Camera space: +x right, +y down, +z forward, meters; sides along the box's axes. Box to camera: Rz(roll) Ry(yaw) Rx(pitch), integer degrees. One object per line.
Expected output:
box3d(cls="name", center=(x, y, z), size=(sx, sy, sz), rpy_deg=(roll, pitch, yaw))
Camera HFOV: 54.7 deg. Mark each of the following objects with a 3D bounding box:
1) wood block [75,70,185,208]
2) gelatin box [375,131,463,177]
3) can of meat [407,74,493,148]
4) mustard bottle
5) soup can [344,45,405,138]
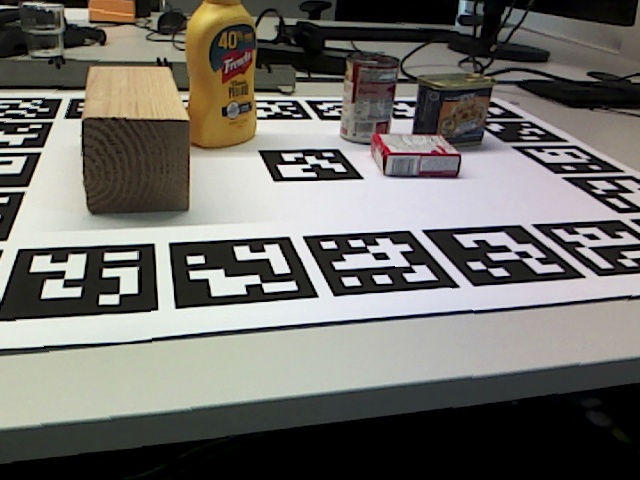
box3d(cls="wood block", center=(-0.189, -0.112, 0.633), size=(0.090, 0.090, 0.207), rpy_deg=(-1, 24, -15))
box3d(cls="gelatin box", center=(0.113, -0.100, 0.717), size=(0.089, 0.030, 0.073), rpy_deg=(0, 30, -4))
box3d(cls="can of meat", center=(0.166, -0.167, 0.806), size=(0.101, 0.083, 0.058), rpy_deg=(-8, 31, -28))
box3d(cls="mustard bottle", center=(-0.115, -0.206, 0.726), size=(0.095, 0.191, 0.059), rpy_deg=(-16, 34, -37))
box3d(cls="soup can", center=(0.068, -0.190, 0.793), size=(0.068, 0.102, 0.068), rpy_deg=(4, 29, -3))
